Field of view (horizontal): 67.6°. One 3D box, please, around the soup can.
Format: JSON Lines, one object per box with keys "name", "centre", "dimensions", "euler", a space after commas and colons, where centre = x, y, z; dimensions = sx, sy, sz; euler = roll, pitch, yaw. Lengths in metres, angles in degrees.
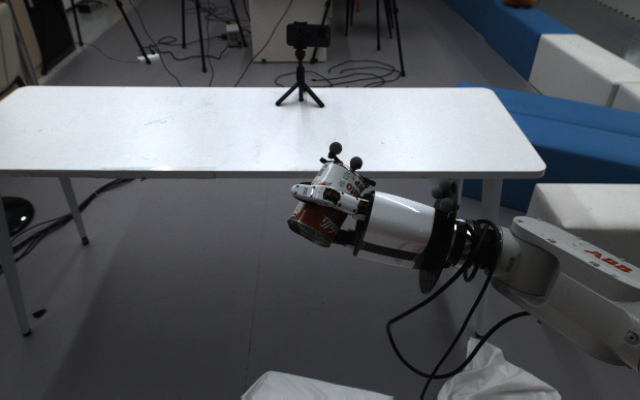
{"name": "soup can", "centre": [0.010, 0.005, 0.664], "dimensions": [0.067, 0.067, 0.101], "euler": [23, 71, 27]}
